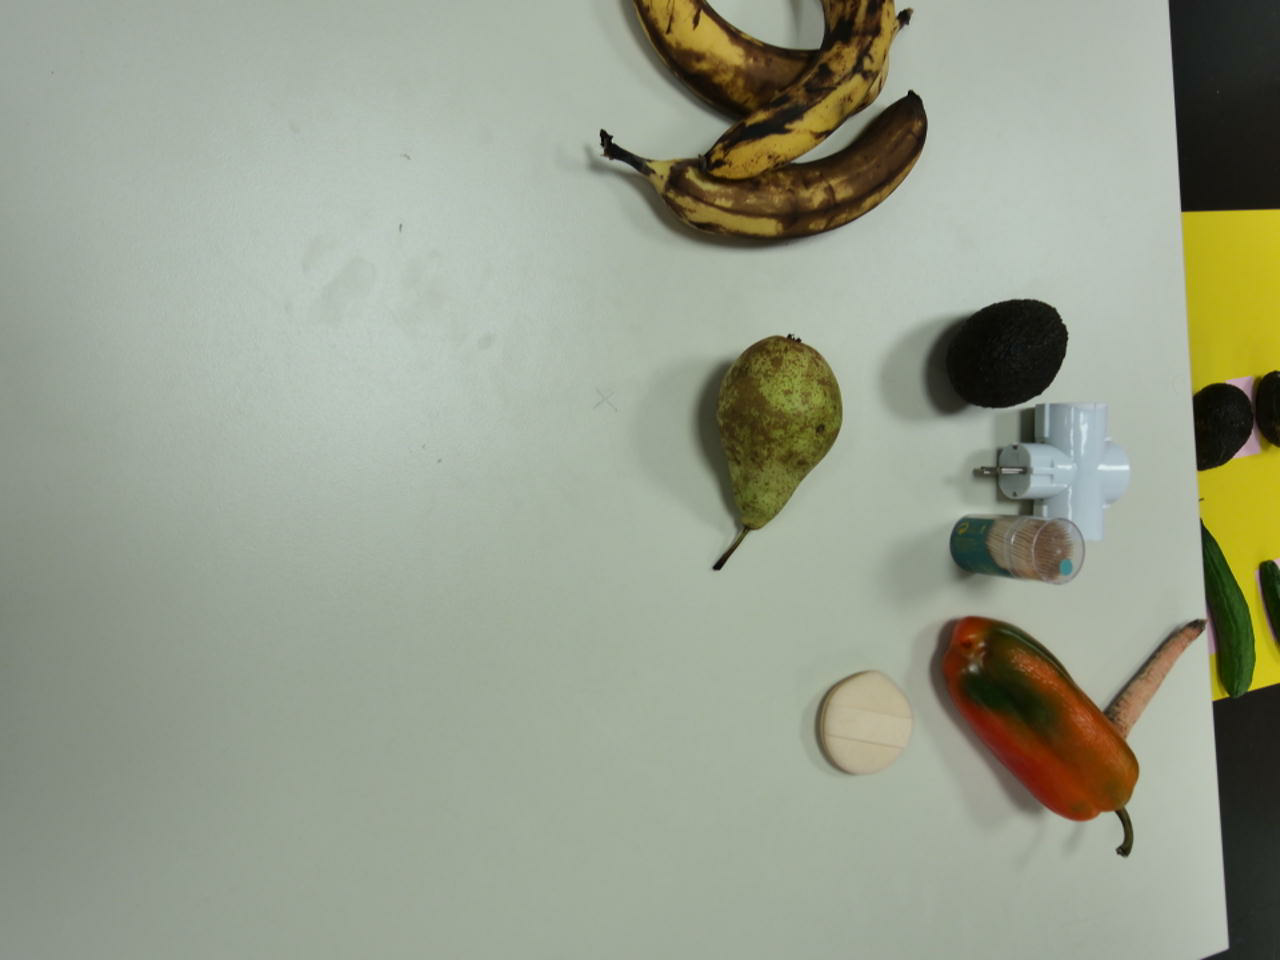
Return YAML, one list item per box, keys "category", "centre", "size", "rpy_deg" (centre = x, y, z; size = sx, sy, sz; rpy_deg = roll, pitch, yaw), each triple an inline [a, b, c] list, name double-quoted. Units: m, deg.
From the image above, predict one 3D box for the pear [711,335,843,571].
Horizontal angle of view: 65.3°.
- category: "pear"
  centre: [0.082, -0.018, 0.571]
  size: [0.071, 0.075, 0.128]
  rpy_deg: [-13, 96, -22]
